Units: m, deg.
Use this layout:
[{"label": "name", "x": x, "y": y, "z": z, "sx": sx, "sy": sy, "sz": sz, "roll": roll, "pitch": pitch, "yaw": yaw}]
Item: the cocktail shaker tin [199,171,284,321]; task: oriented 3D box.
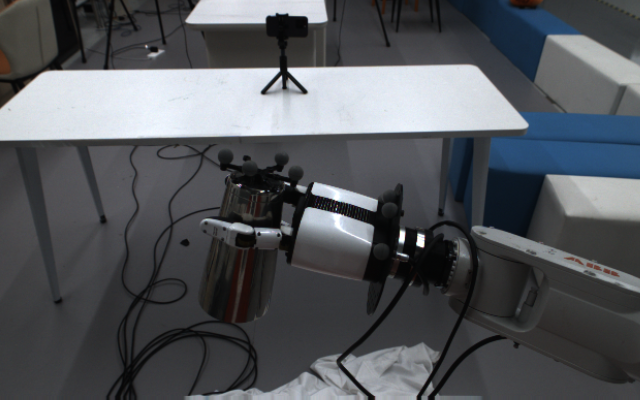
[{"label": "cocktail shaker tin", "x": -0.086, "y": 0.050, "z": 0.586, "sx": 0.093, "sy": 0.170, "sz": 0.093, "roll": 12, "pitch": 25, "yaw": -6}]
